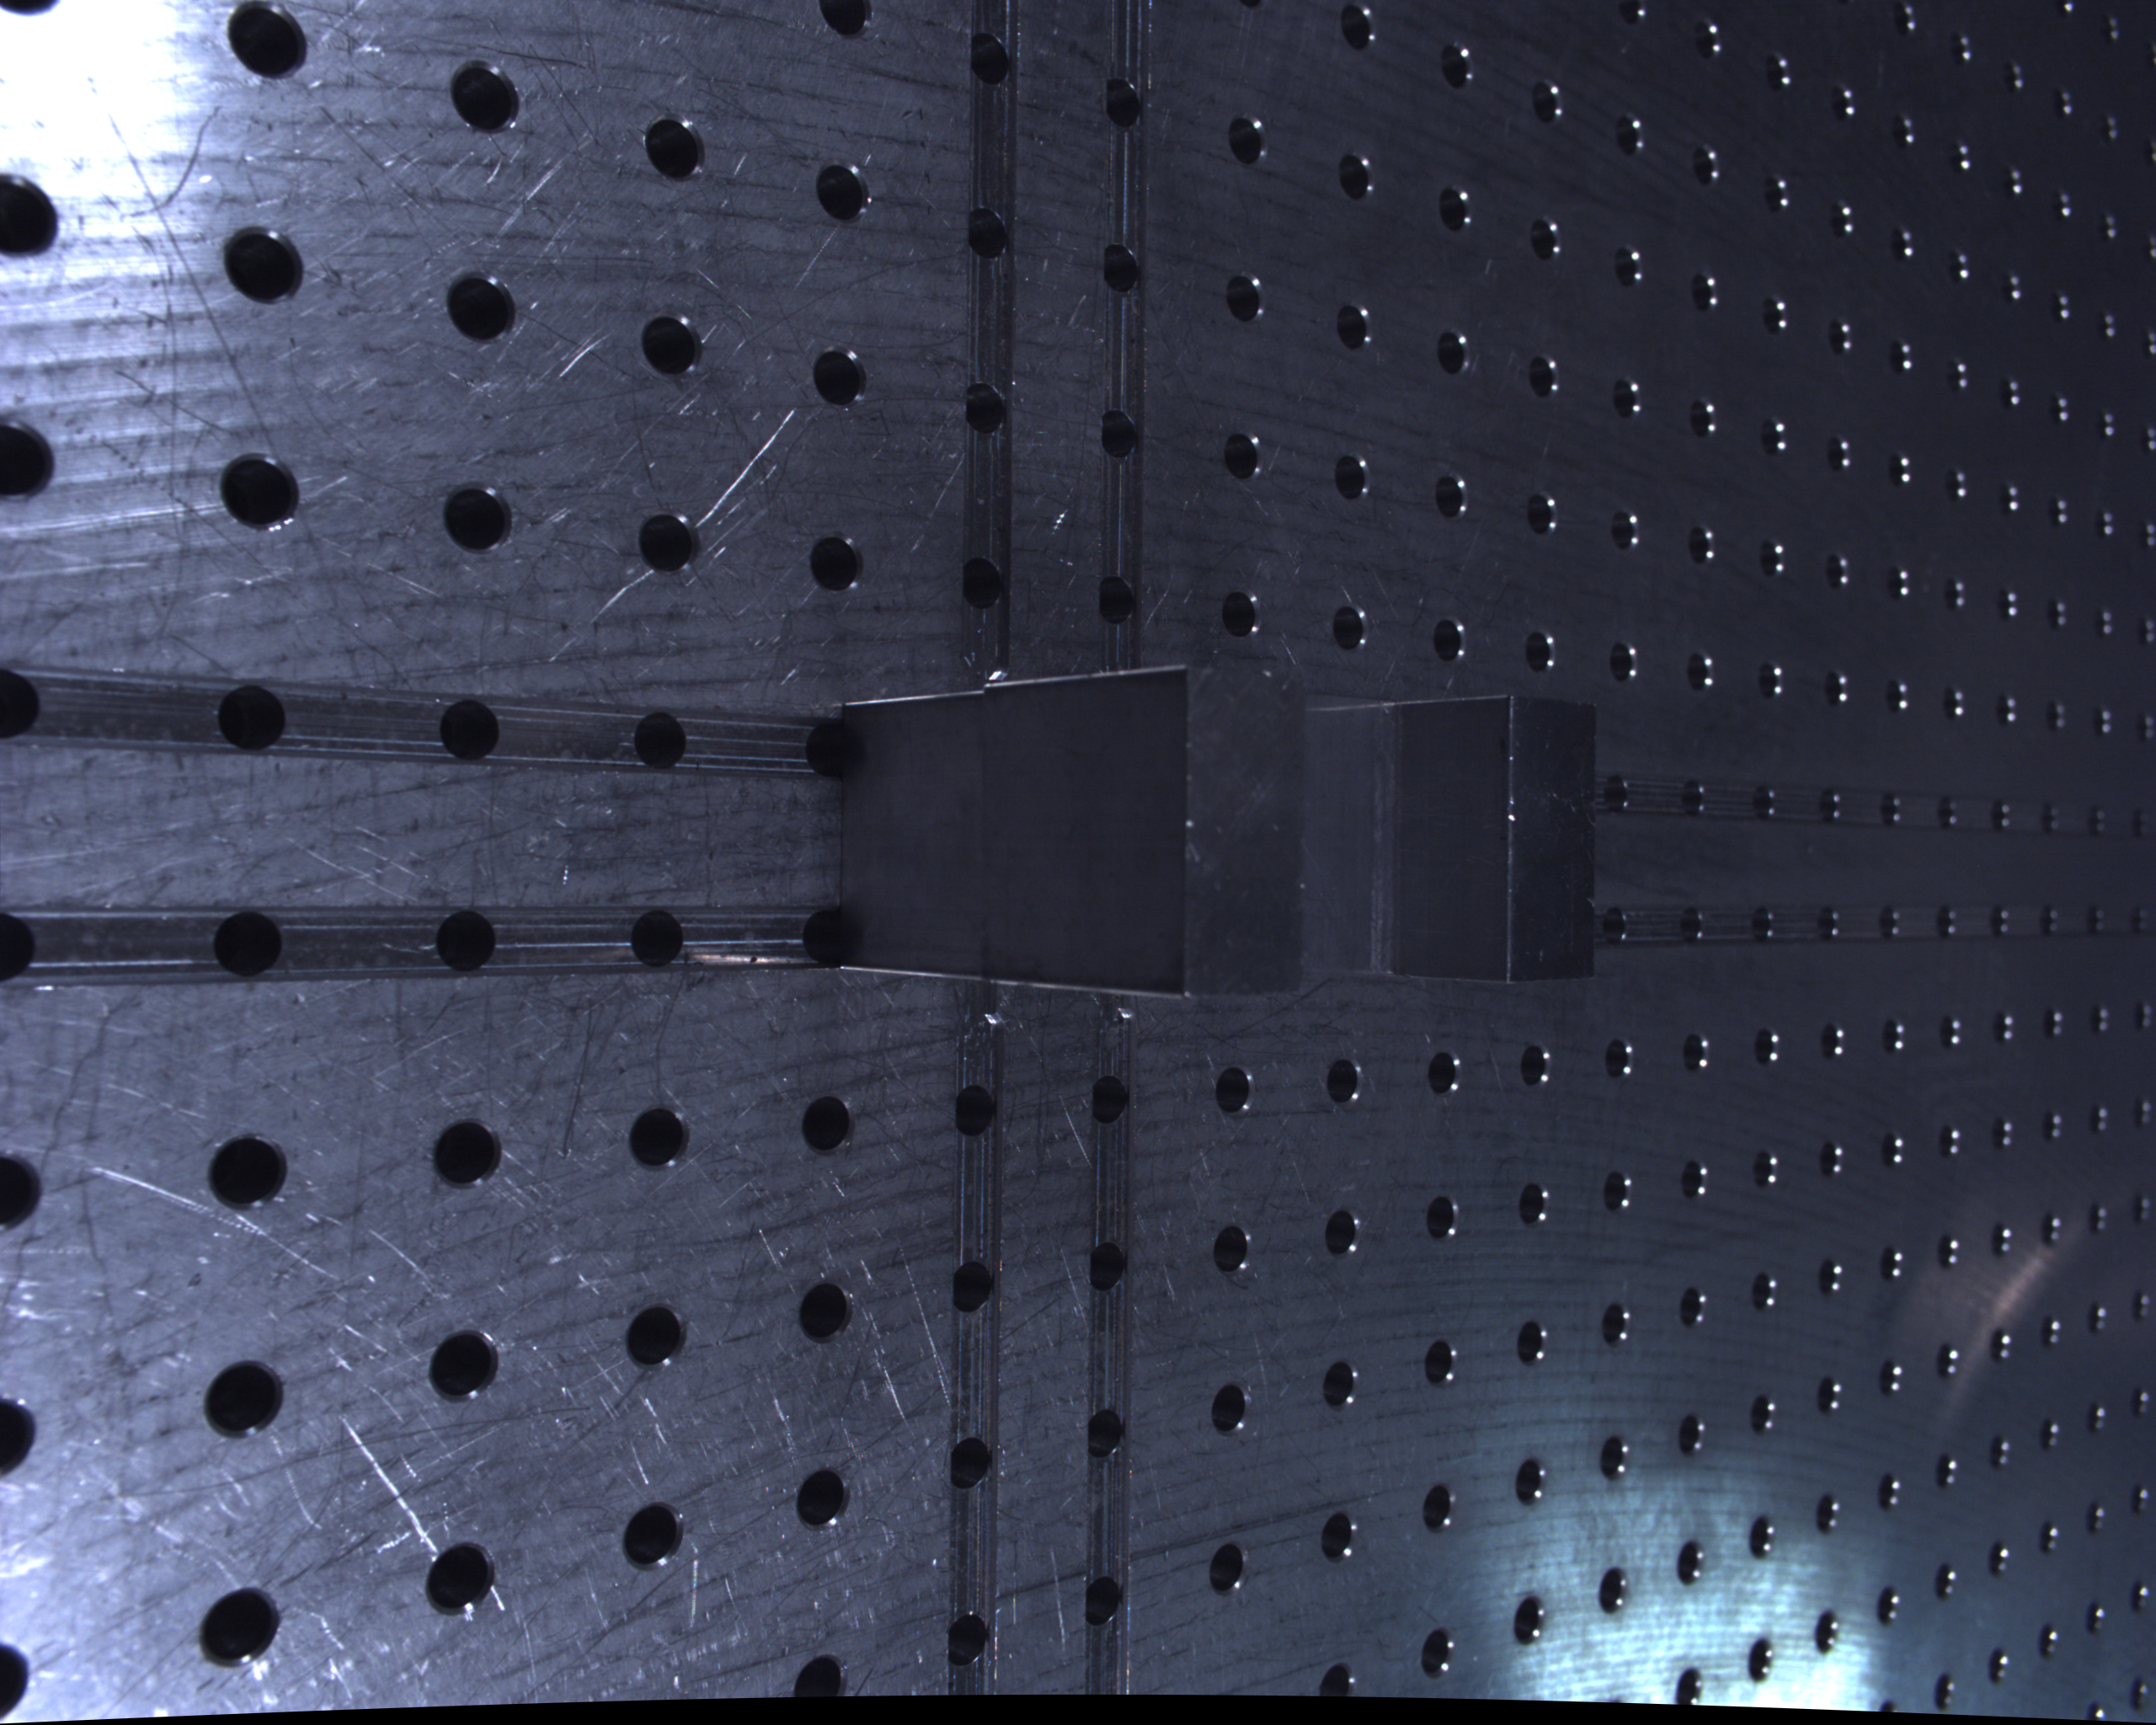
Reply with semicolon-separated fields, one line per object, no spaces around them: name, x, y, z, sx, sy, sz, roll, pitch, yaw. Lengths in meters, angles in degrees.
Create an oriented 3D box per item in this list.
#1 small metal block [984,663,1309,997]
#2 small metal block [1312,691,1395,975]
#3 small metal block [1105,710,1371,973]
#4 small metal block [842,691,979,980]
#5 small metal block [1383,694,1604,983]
small metal block;0.010;-0.005;0.337;0.025;0.050;0.050;1;89;-40
small metal block;0.030;-0.005;0.372;0.050;0.025;0.050;1;90;-40
small metal block;0.032;-0.004;0.421;0.025;0.050;0.050;-1;91;-40
small metal block;-0.018;-0.005;0.379;0.025;0.050;0.050;1;90;-40
small metal block;0.069;-0.004;0.386;0.025;0.050;0.050;1;89;-40
